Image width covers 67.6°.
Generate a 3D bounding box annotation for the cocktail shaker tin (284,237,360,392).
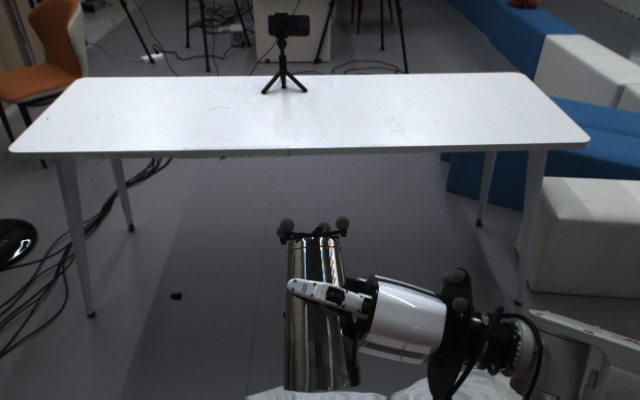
[{"bbox_3d":[-0.002,0.136,0.587,0.093,0.093,0.170,-3,76,-7],"label":"cocktail shaker tin"}]
